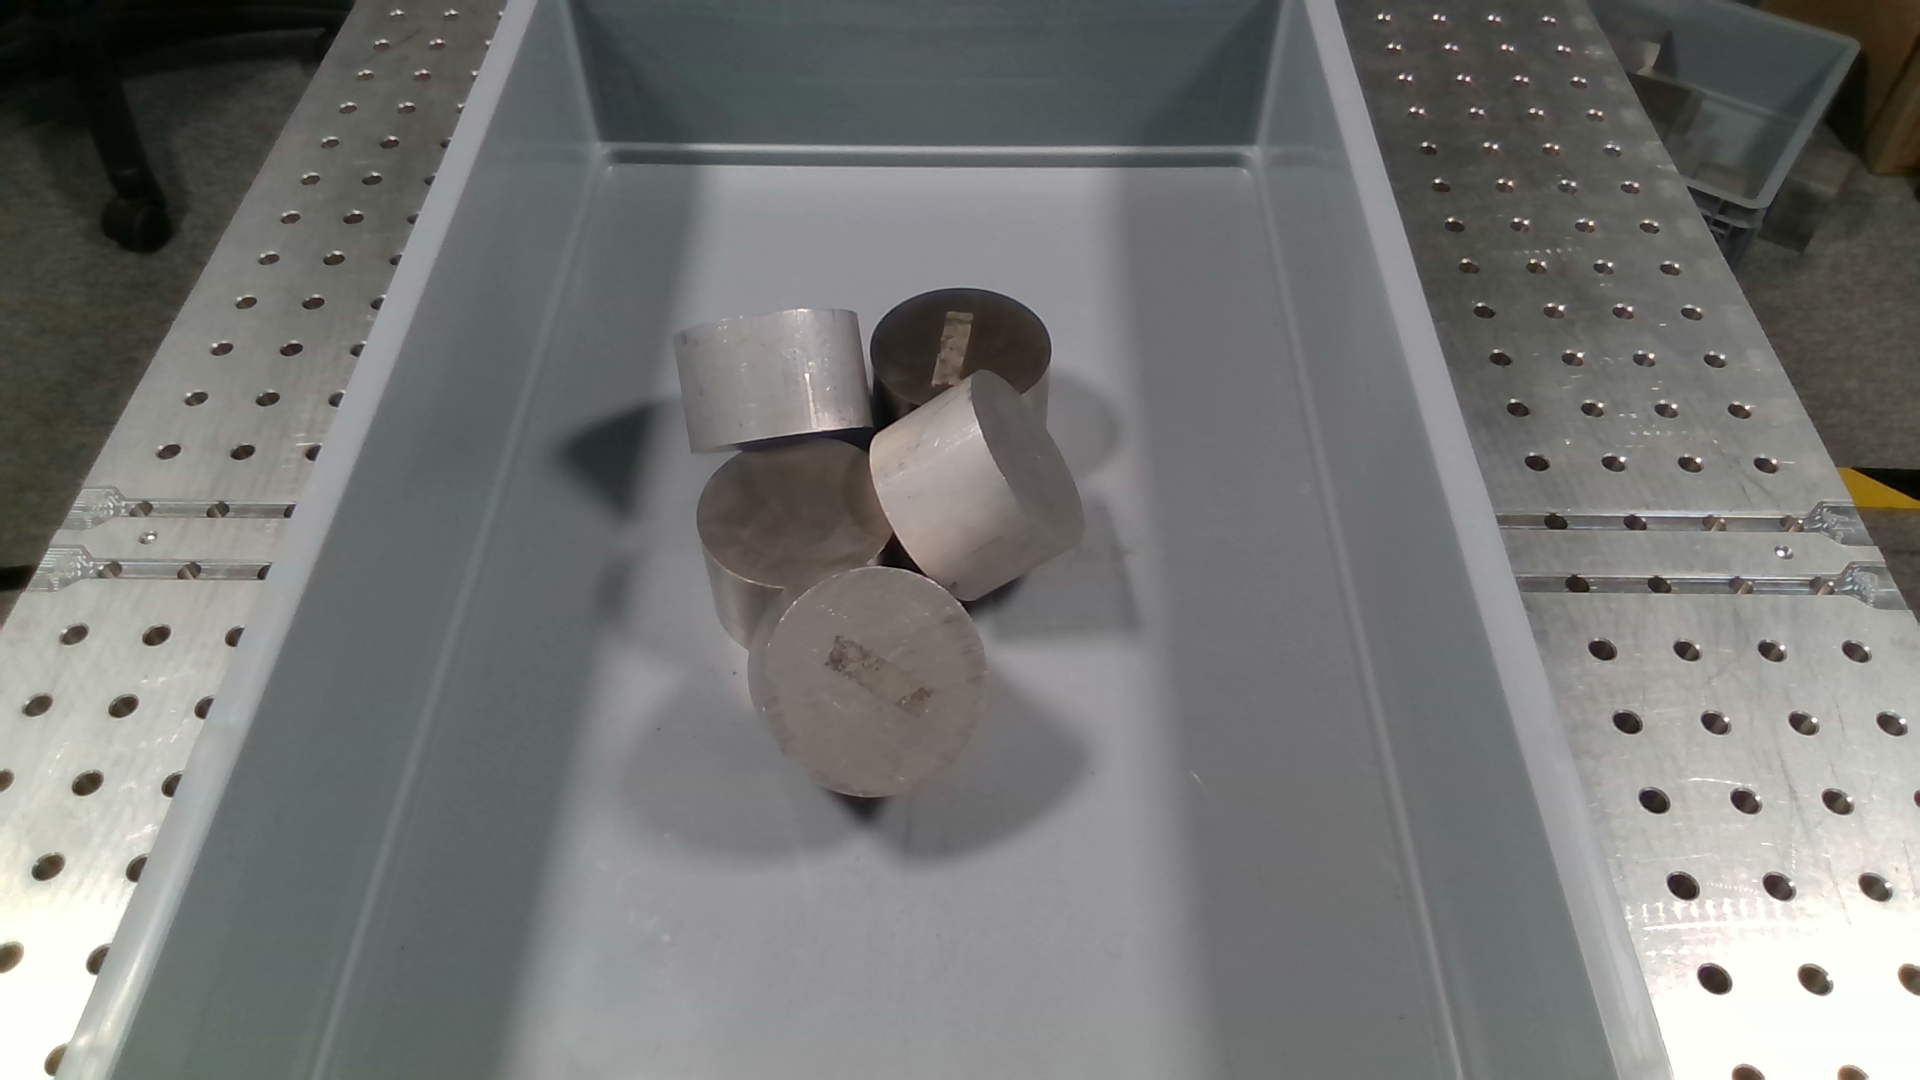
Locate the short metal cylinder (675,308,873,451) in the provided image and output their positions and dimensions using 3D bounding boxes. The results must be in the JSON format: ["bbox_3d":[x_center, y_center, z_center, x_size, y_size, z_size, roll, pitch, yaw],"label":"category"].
[{"bbox_3d":[-0.081,-0.068,0.598,0.080,0.080,0.050,-9,93,-7],"label":"short metal cylinder"}]

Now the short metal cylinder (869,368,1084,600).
[{"bbox_3d":[0.008,-0.022,0.559,0.050,0.080,0.080,-30,47,22],"label":"short metal cylinder"}]

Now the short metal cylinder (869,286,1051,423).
[{"bbox_3d":[0.000,-0.070,0.626,0.080,0.050,0.080,0,50,0],"label":"short metal cylinder"}]

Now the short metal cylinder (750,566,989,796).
[{"bbox_3d":[-0.035,0.049,0.502,0.080,0.050,0.080,0,90,-14],"label":"short metal cylinder"}]

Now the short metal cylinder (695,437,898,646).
[{"bbox_3d":[-0.065,0.003,0.566,0.080,0.050,0.080,0,50,0],"label":"short metal cylinder"}]
